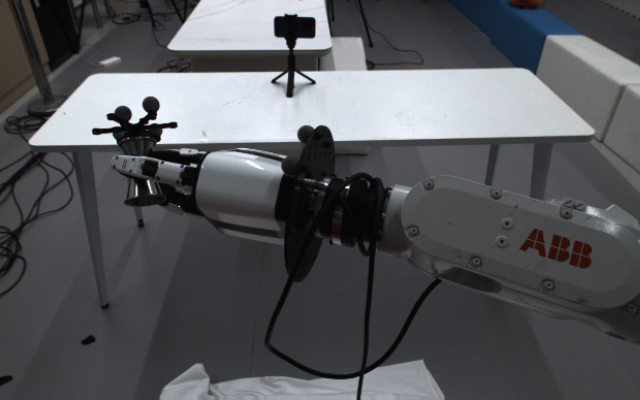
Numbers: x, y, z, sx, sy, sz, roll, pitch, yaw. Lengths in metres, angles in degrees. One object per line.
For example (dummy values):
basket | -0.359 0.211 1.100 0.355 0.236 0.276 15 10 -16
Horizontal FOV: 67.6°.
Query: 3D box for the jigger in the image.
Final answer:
jigger | -0.194 -0.030 0.533 0.043 0.043 0.071 -9 79 -16
